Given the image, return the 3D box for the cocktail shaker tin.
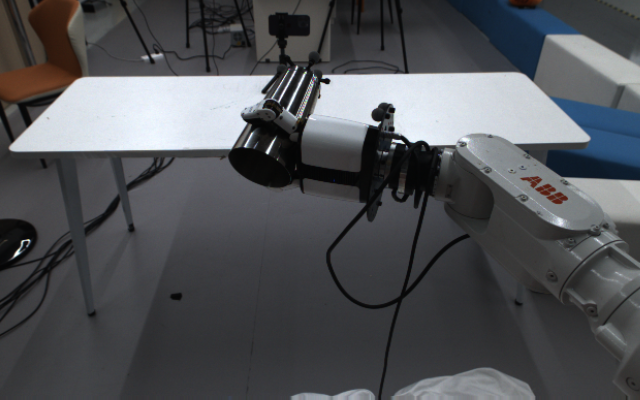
[{"bbox_3d":[-0.058,-0.114,0.702,0.093,0.093,0.170,13,60,15],"label":"cocktail shaker tin"}]
